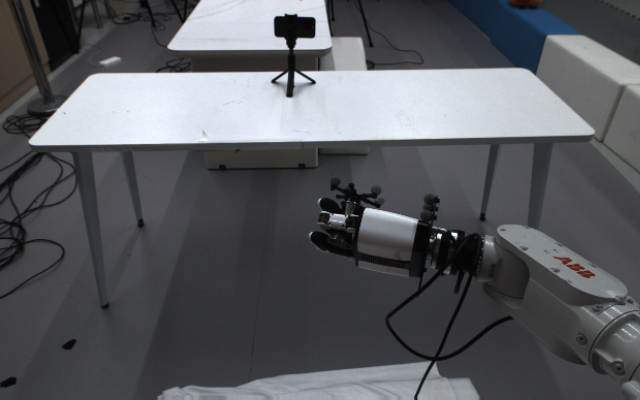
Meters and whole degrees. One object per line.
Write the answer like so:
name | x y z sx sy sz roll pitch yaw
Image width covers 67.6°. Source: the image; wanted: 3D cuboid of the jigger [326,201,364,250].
jigger | 0.044 0.039 0.771 0.043 0.043 0.071 13 70 16
